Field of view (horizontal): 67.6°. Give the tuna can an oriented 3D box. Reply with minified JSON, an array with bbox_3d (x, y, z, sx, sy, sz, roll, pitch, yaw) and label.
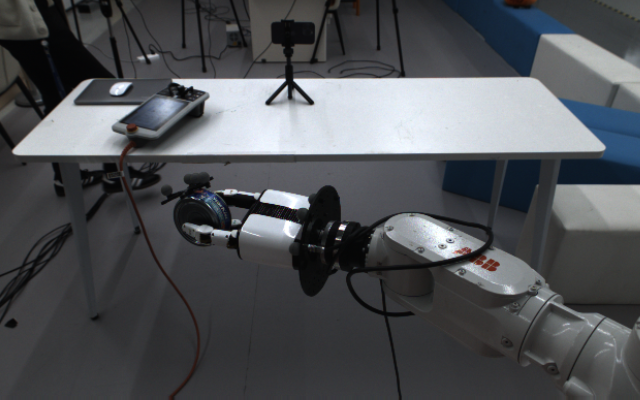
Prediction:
[{"bbox_3d":[-0.180,0.028,0.742,0.085,0.085,0.034,14,30,17],"label":"tuna can"}]
